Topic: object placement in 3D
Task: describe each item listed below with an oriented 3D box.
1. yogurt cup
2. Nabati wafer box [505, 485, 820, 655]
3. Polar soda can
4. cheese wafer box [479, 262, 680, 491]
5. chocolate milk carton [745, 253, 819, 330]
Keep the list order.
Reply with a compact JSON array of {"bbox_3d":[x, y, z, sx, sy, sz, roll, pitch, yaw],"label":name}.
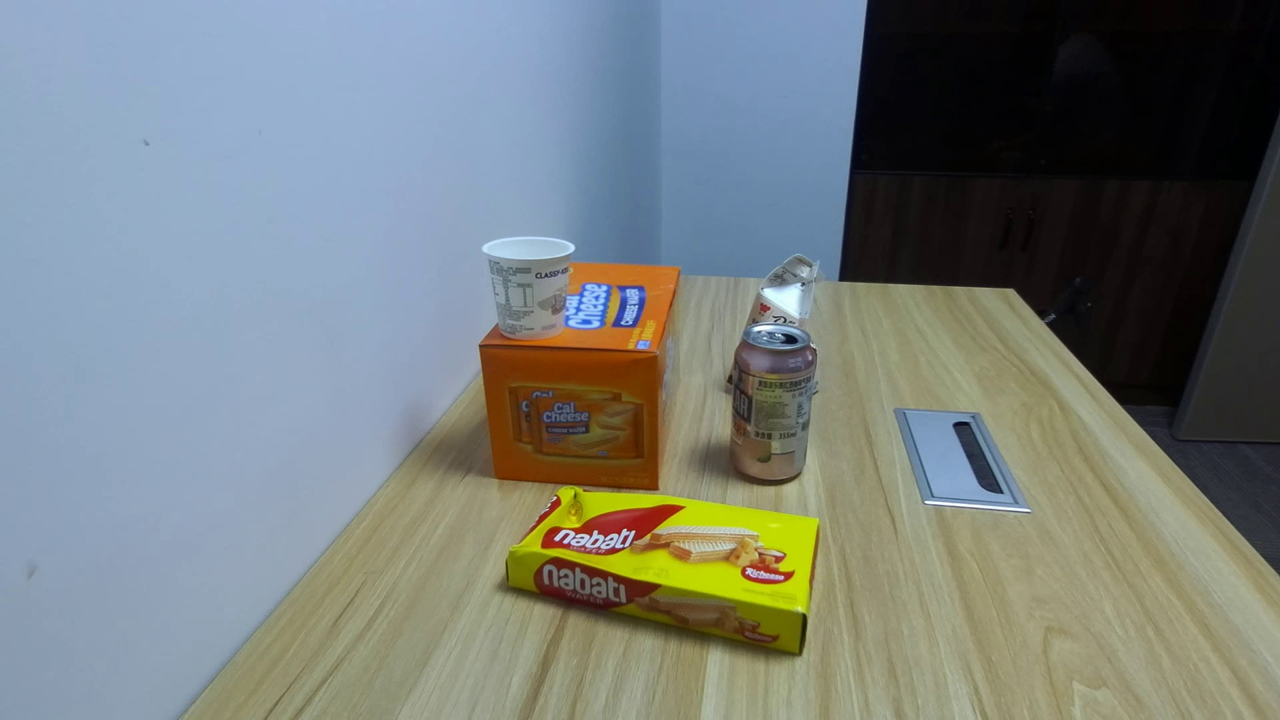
[{"bbox_3d":[-0.088,-0.057,0.567,0.072,0.068,0.072,1,23,0],"label":"yogurt cup"},{"bbox_3d":[0.017,0.133,0.486,0.202,0.042,0.096,7,28,19],"label":"Nabati wafer box"},{"bbox_3d":[0.110,0.036,0.593,0.067,0.125,0.067,-1,24,1],"label":"Polar soda can"},{"bbox_3d":[-0.042,0.003,0.667,0.148,0.129,0.222,3,25,7],"label":"cheese wafer box"},{"bbox_3d":[0.147,-0.030,0.711,0.076,0.155,0.090,21,16,33],"label":"chocolate milk carton"}]
